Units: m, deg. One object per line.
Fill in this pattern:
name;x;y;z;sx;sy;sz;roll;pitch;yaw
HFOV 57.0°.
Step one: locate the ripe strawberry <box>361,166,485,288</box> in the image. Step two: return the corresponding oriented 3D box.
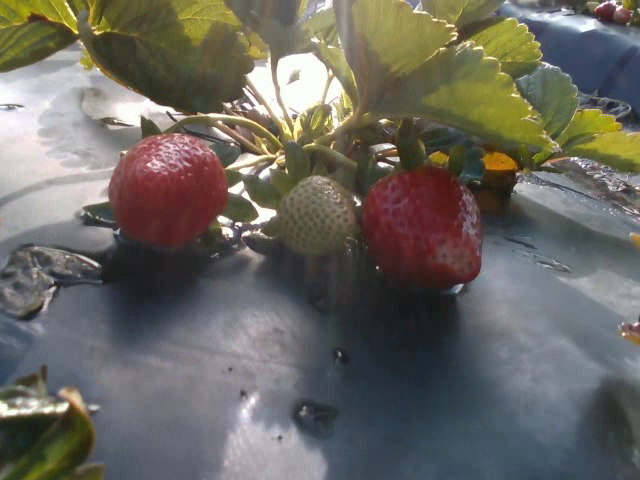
ripe strawberry;0.039;-0.003;0.208;0.048;0.050;0.065;-31;36;9
